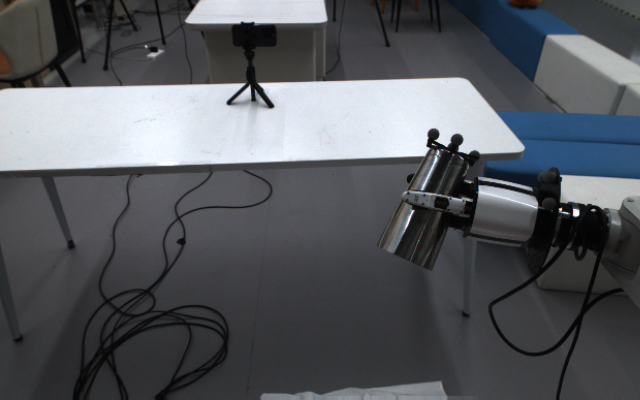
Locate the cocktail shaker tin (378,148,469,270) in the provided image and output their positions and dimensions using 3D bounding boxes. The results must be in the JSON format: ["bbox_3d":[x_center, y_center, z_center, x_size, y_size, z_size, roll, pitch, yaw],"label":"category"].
[{"bbox_3d":[0.164,0.007,0.738,0.093,0.170,0.093,23,0,0],"label":"cocktail shaker tin"}]
